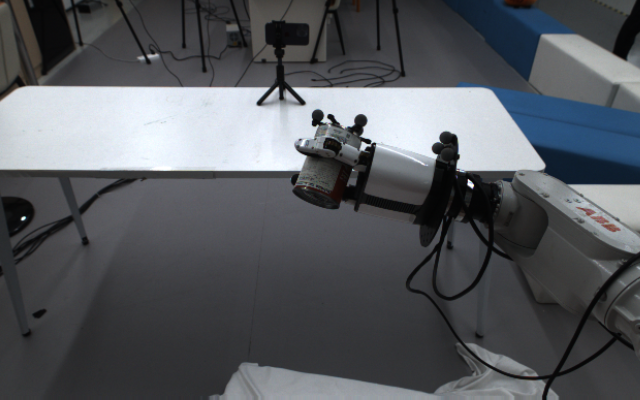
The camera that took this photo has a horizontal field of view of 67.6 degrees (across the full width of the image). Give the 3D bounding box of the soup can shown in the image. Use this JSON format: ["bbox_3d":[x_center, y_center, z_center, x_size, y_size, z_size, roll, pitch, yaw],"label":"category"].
[{"bbox_3d":[0.012,-0.047,0.669,0.067,0.067,0.101,15,76,18],"label":"soup can"}]
